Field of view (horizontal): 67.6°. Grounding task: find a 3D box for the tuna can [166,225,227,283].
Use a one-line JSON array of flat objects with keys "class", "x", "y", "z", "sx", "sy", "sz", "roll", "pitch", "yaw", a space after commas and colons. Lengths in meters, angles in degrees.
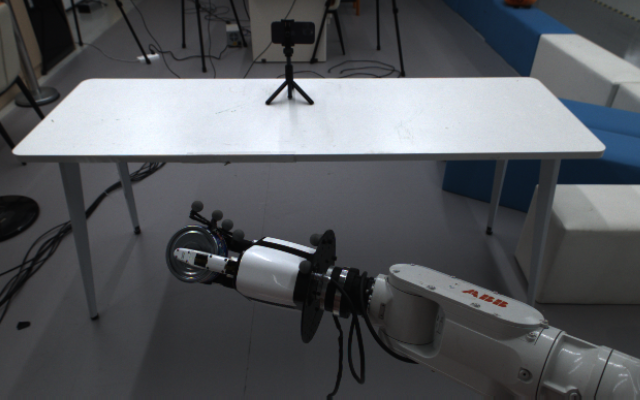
[{"class": "tuna can", "x": -0.181, "y": 0.080, "z": 0.711, "sx": 0.085, "sy": 0.085, "sz": 0.034, "roll": 12, "pitch": -5, "yaw": 14}]
